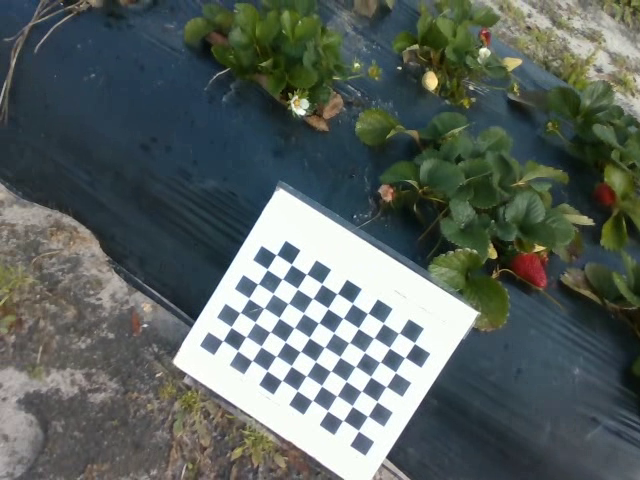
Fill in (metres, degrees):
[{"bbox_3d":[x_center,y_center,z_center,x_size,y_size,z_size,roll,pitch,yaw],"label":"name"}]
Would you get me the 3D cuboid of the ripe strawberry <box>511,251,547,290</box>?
[{"bbox_3d":[0.270,0.033,0.930,0.050,0.064,0.043,-24,-4,0],"label":"ripe strawberry"}]
